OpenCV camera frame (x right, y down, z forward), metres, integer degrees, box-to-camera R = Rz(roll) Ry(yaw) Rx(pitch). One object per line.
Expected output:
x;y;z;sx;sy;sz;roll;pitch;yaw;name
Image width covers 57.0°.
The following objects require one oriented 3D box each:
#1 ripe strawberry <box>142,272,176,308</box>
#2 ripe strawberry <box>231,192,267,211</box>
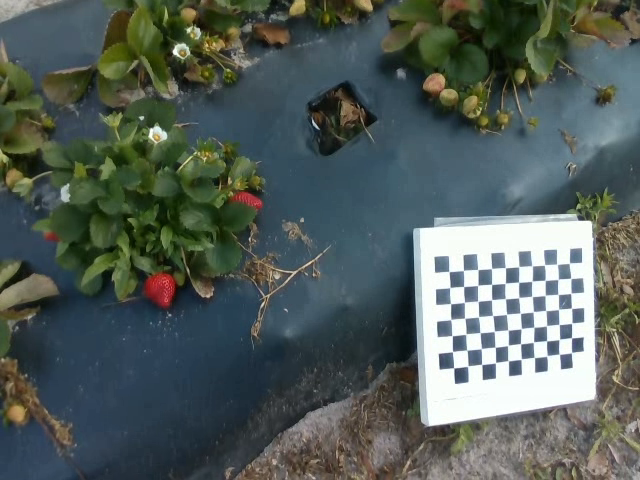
-0.201;0.066;0.741;0.043;0.051;0.043;-20;-23;-17;ripe strawberry
-0.098;-0.048;0.796;0.046;0.043;0.046;-5;-2;12;ripe strawberry
